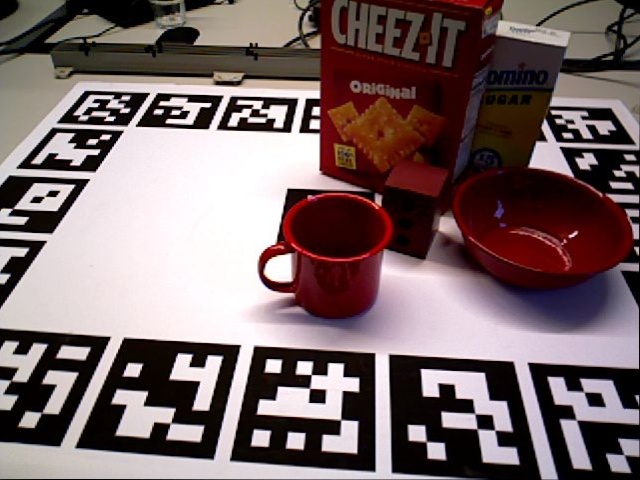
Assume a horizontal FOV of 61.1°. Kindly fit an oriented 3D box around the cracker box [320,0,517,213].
[{"bbox_3d":[0.086,-0.152,0.558,0.164,0.218,0.070,25,44,25],"label":"cracker box"}]

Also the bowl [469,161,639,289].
[{"bbox_3d":[0.213,-0.006,0.495,0.161,0.056,0.159,-1,42,0],"label":"bowl"}]

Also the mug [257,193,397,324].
[{"bbox_3d":[0.005,0.017,0.461,0.116,0.083,0.092,-4,33,-2],"label":"mug"}]

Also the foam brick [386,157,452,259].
[{"bbox_3d":[0.094,-0.031,0.530,0.053,0.080,0.050,13,42,16],"label":"foam brick"}]

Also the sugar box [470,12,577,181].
[{"bbox_3d":[0.197,-0.140,0.571,0.093,0.180,0.044,18,44,20],"label":"sugar box"}]
